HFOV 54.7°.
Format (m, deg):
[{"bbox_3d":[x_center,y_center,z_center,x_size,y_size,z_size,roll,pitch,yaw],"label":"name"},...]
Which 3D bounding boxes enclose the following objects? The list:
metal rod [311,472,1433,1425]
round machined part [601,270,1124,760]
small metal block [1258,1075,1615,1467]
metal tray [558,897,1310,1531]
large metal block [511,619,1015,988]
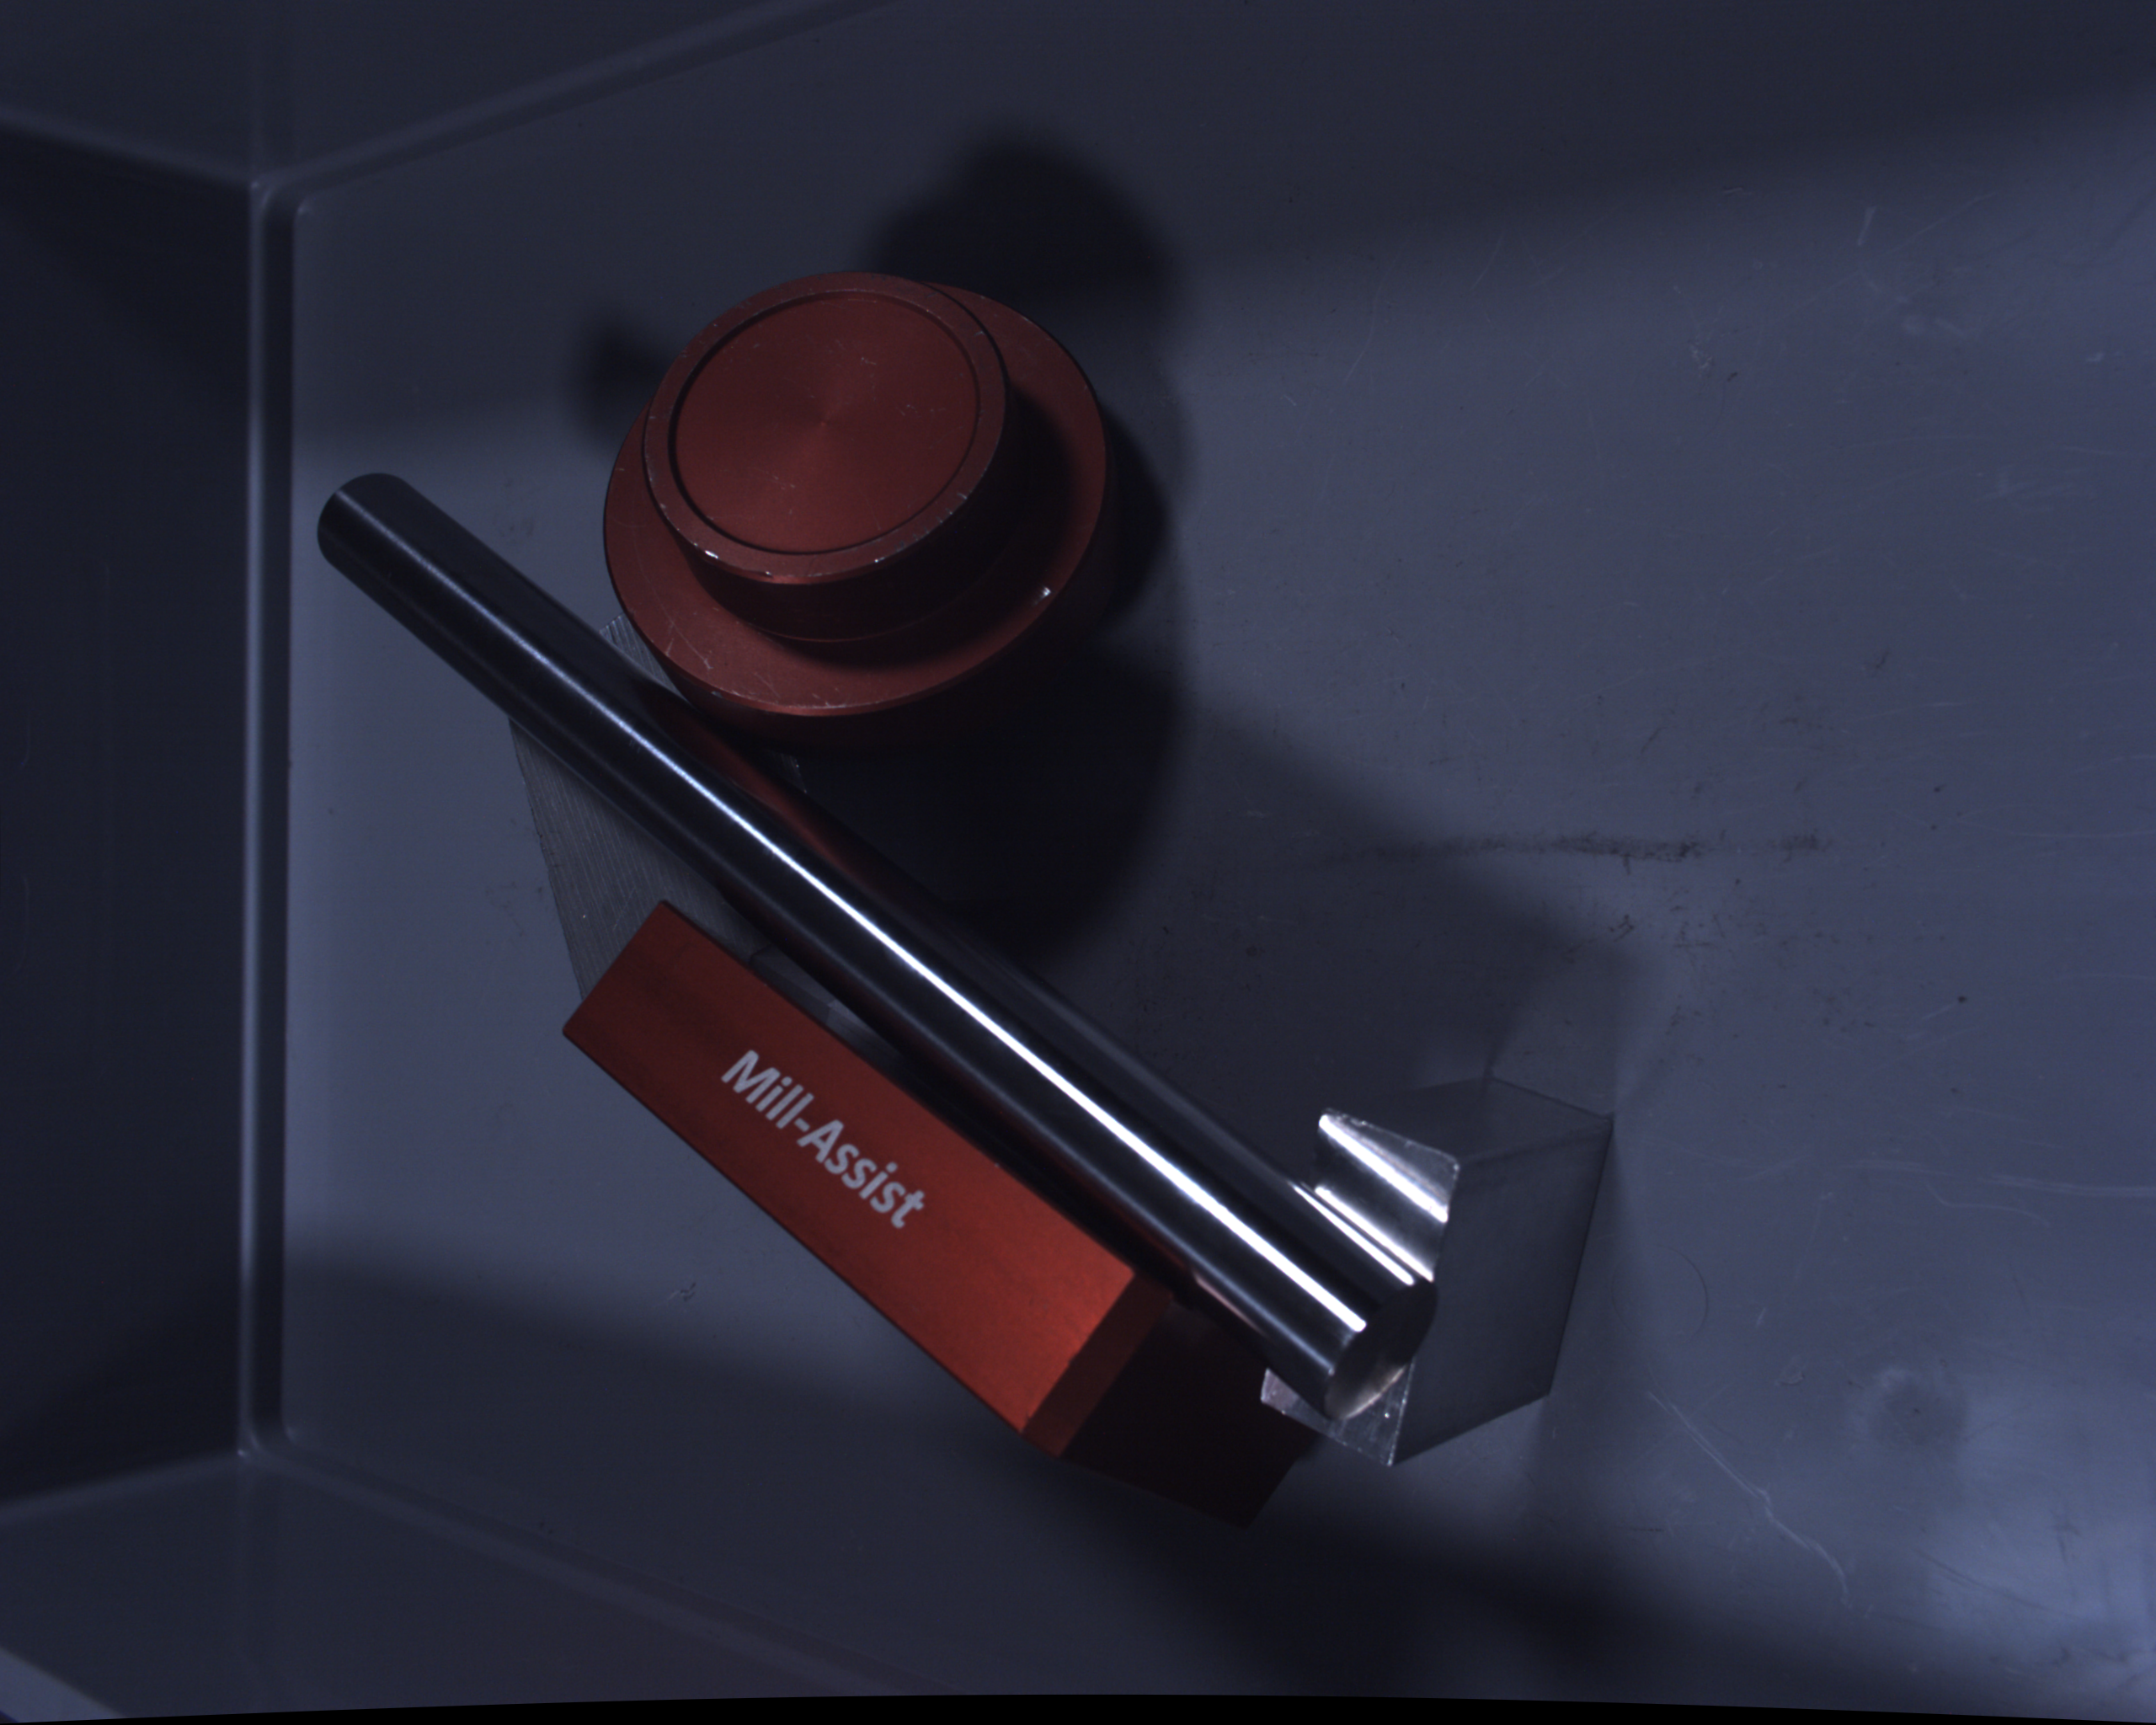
[{"bbox_3d":[-0.058,-0.002,0.384,0.300,0.025,0.025,36,112,33],"label":"metal rod"},{"bbox_3d":[-0.043,-0.072,0.393,0.099,0.042,0.098,-3,65,7],"label":"round machined part"},{"bbox_3d":[0.059,0.064,0.339,0.025,0.050,0.050,19,102,38],"label":"small metal block"},{"bbox_3d":[-0.024,0.062,0.376,0.130,0.090,0.030,33,83,34],"label":"metal tray"},{"bbox_3d":[-0.070,-0.013,0.443,0.080,0.050,0.080,-28,73,36],"label":"large metal block"}]
